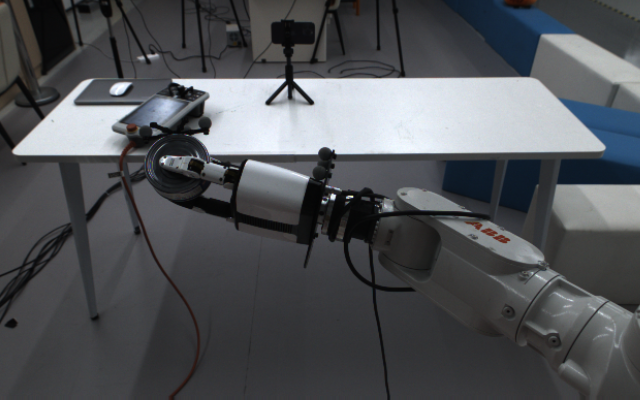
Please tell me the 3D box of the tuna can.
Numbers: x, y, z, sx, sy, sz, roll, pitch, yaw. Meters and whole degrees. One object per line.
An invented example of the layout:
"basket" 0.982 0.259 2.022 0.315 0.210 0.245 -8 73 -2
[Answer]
"tuna can" -0.184 -0.043 0.637 0.085 0.034 0.085 0 72 -1
